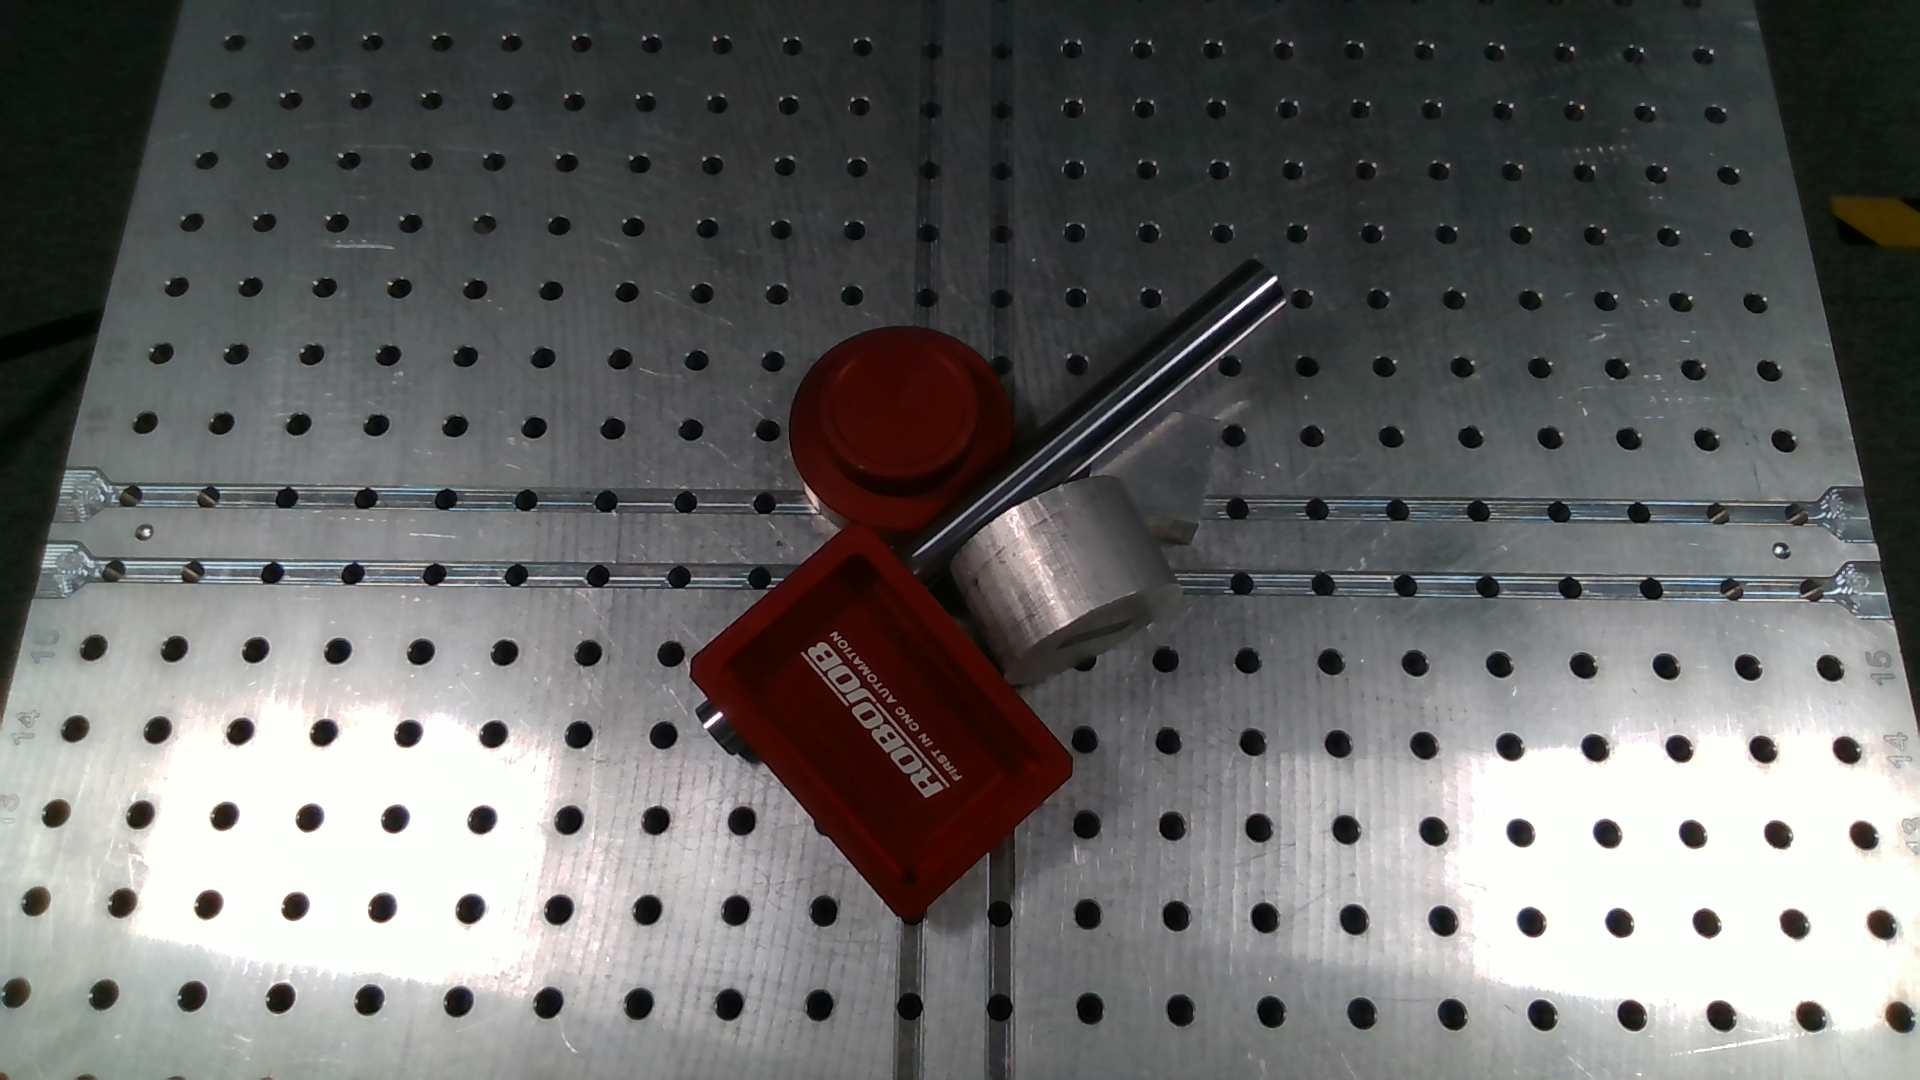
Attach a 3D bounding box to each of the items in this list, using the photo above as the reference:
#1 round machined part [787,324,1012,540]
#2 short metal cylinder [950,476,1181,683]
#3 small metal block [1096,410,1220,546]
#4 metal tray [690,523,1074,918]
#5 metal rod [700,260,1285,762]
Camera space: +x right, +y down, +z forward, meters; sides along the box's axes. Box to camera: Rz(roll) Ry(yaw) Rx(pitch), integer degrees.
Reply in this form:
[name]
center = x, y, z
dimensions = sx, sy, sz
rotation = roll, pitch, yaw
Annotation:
[round machined part]
center = -0.026, -0.051, 0.599
dimensions = 0.098, 0.042, 0.098
rotation = 0, 70, 0
[short metal cylinder]
center = 0.042, 0.017, 0.555
dimensions = 0.080, 0.080, 0.050
rotation = -24, 72, -8
[small metal block]
center = 0.083, -0.030, 0.602
dimensions = 0.050, 0.025, 0.050
rotation = 12, 71, 4
[metal tray]
center = -0.030, 0.069, 0.541
dimensions = 0.090, 0.030, 0.130
rotation = -41, 91, -6
[metal rod]
center = 0.016, -0.014, 0.578
dimensions = 0.300, 0.025, 0.025
rotation = -40, 75, -5
